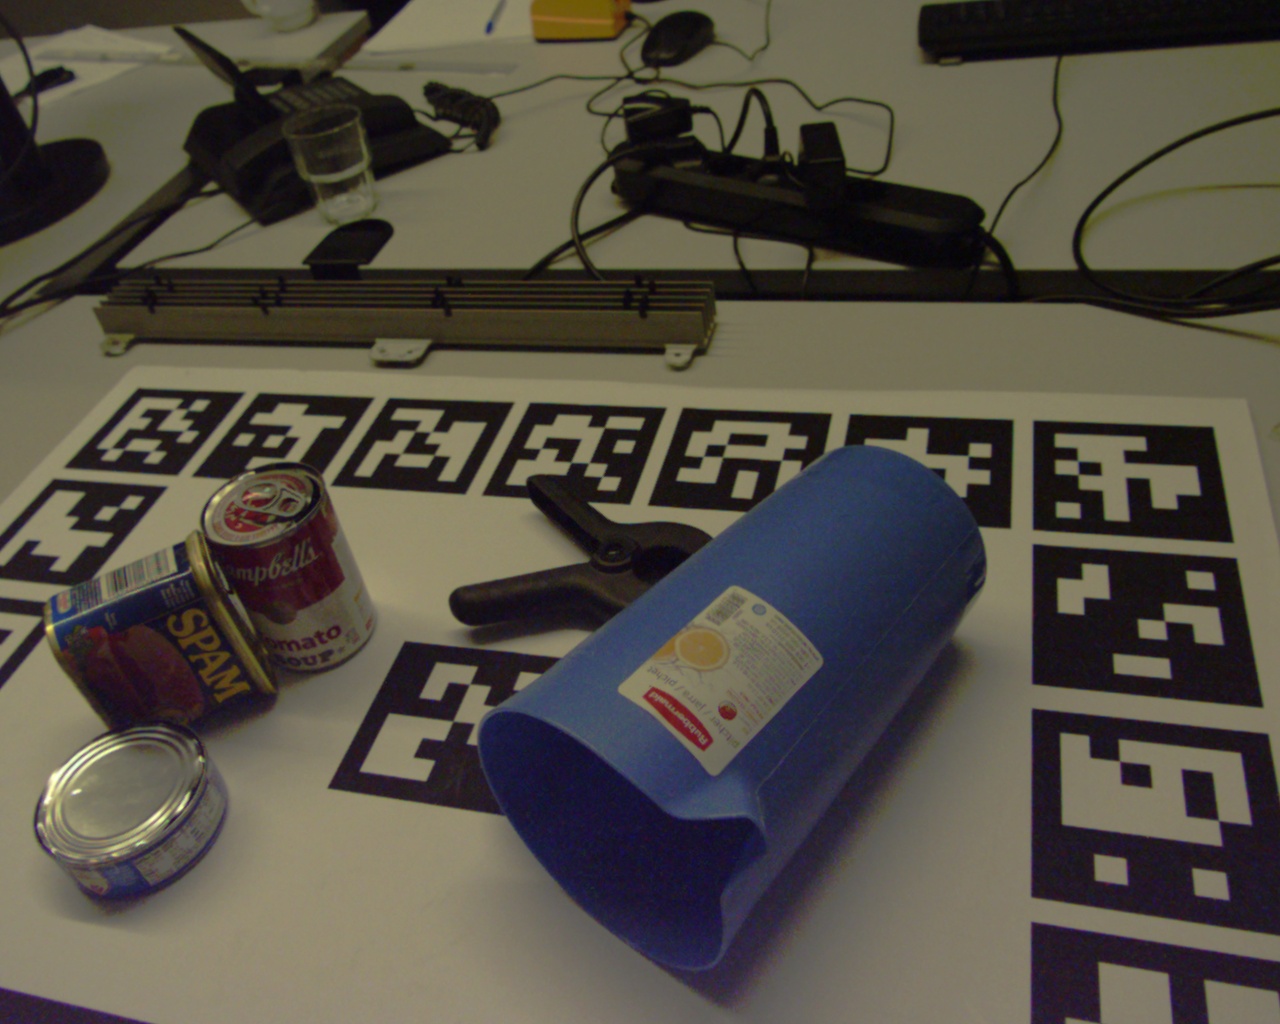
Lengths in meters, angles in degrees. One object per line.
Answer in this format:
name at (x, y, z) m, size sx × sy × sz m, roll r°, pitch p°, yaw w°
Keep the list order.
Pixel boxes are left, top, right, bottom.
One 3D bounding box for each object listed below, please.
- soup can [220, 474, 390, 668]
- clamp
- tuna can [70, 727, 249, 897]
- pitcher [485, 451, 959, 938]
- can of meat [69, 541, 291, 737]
soup can at (-0.199, 0.037, 0.687) m, size 0.068 × 0.101 × 0.068 m, roll -9°, pitch 42°, yaw 7°
clamp at (-0.029, 0.036, 0.709) m, size 0.166 × 0.036 × 0.121 m, roll 7°, pitch 40°, yaw 15°
tuna can at (-0.256, 0.160, 0.611) m, size 0.086 × 0.033 × 0.086 m, roll -7°, pitch 43°, yaw 6°
pitcher at (0.046, 0.072, 0.560) m, size 0.191 × 0.132 × 0.240 m, roll -1°, pitch 30°, yaw 46°
can of meat at (-0.260, 0.078, 0.649) m, size 0.083 × 0.101 × 0.058 m, roll -24°, pitch 44°, yaw -8°
